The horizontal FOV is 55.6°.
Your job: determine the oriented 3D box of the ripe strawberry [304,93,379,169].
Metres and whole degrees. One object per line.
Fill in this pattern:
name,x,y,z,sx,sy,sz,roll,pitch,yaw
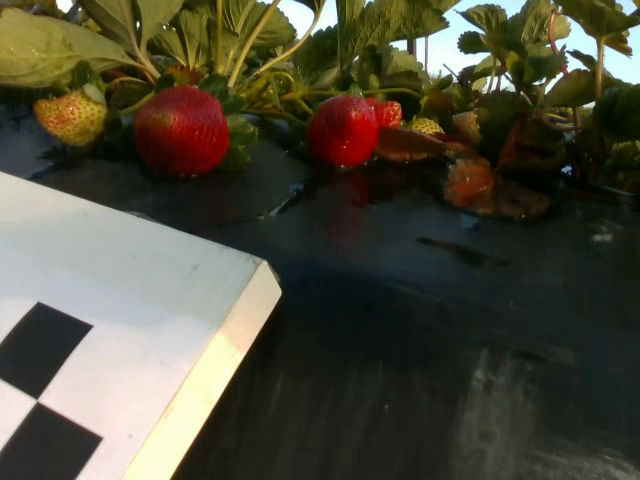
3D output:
ripe strawberry,0.011,-0.057,0.313,0.044,0.042,0.055,-36,1,-11

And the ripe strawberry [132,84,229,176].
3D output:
ripe strawberry,-0.070,-0.057,0.285,0.050,0.050,0.065,-19,-5,4
